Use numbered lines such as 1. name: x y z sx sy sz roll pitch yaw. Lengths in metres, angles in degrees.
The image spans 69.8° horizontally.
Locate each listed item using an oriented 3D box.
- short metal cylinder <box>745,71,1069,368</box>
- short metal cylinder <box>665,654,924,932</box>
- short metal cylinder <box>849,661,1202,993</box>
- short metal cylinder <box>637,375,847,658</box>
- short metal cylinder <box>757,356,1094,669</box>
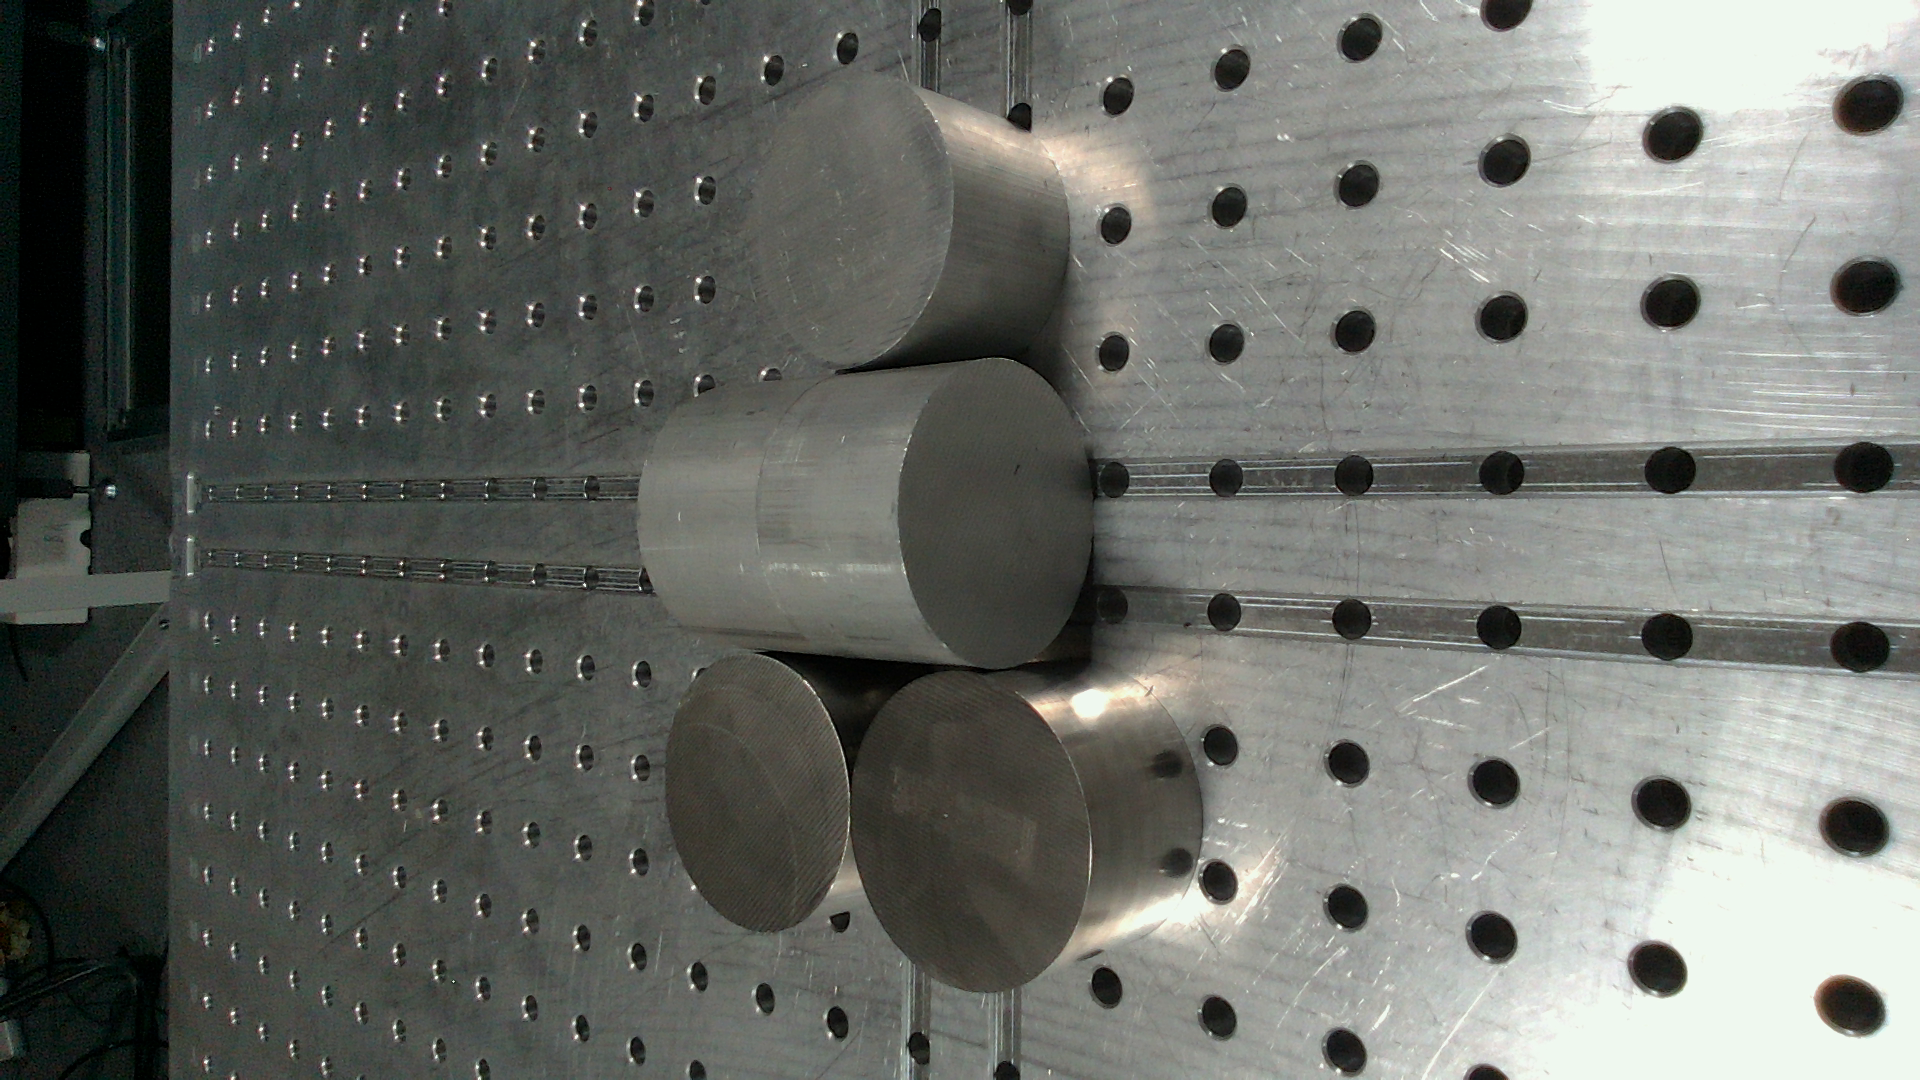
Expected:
1. short metal cylinder: -0.016 -0.087 0.394 0.080 0.050 0.080 0 90 40
2. short metal cylinder: -0.045 0.073 0.418 0.080 0.050 0.080 0 90 40
3. short metal cylinder: 0.017 0.073 0.366 0.080 0.050 0.080 0 90 40
4. short metal cylinder: -0.046 -0.007 0.401 0.050 0.080 0.080 0 90 40
5. short metal cylinder: -0.007 -0.007 0.369 0.050 0.080 0.080 0 90 40
